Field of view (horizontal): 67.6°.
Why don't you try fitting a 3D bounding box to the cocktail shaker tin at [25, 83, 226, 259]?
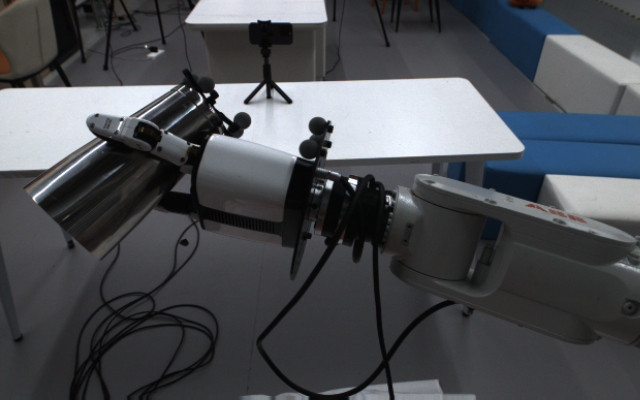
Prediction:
[{"bbox_3d":[-0.176,-0.038,0.466,0.093,0.093,0.170,32,65,35],"label":"cocktail shaker tin"}]
